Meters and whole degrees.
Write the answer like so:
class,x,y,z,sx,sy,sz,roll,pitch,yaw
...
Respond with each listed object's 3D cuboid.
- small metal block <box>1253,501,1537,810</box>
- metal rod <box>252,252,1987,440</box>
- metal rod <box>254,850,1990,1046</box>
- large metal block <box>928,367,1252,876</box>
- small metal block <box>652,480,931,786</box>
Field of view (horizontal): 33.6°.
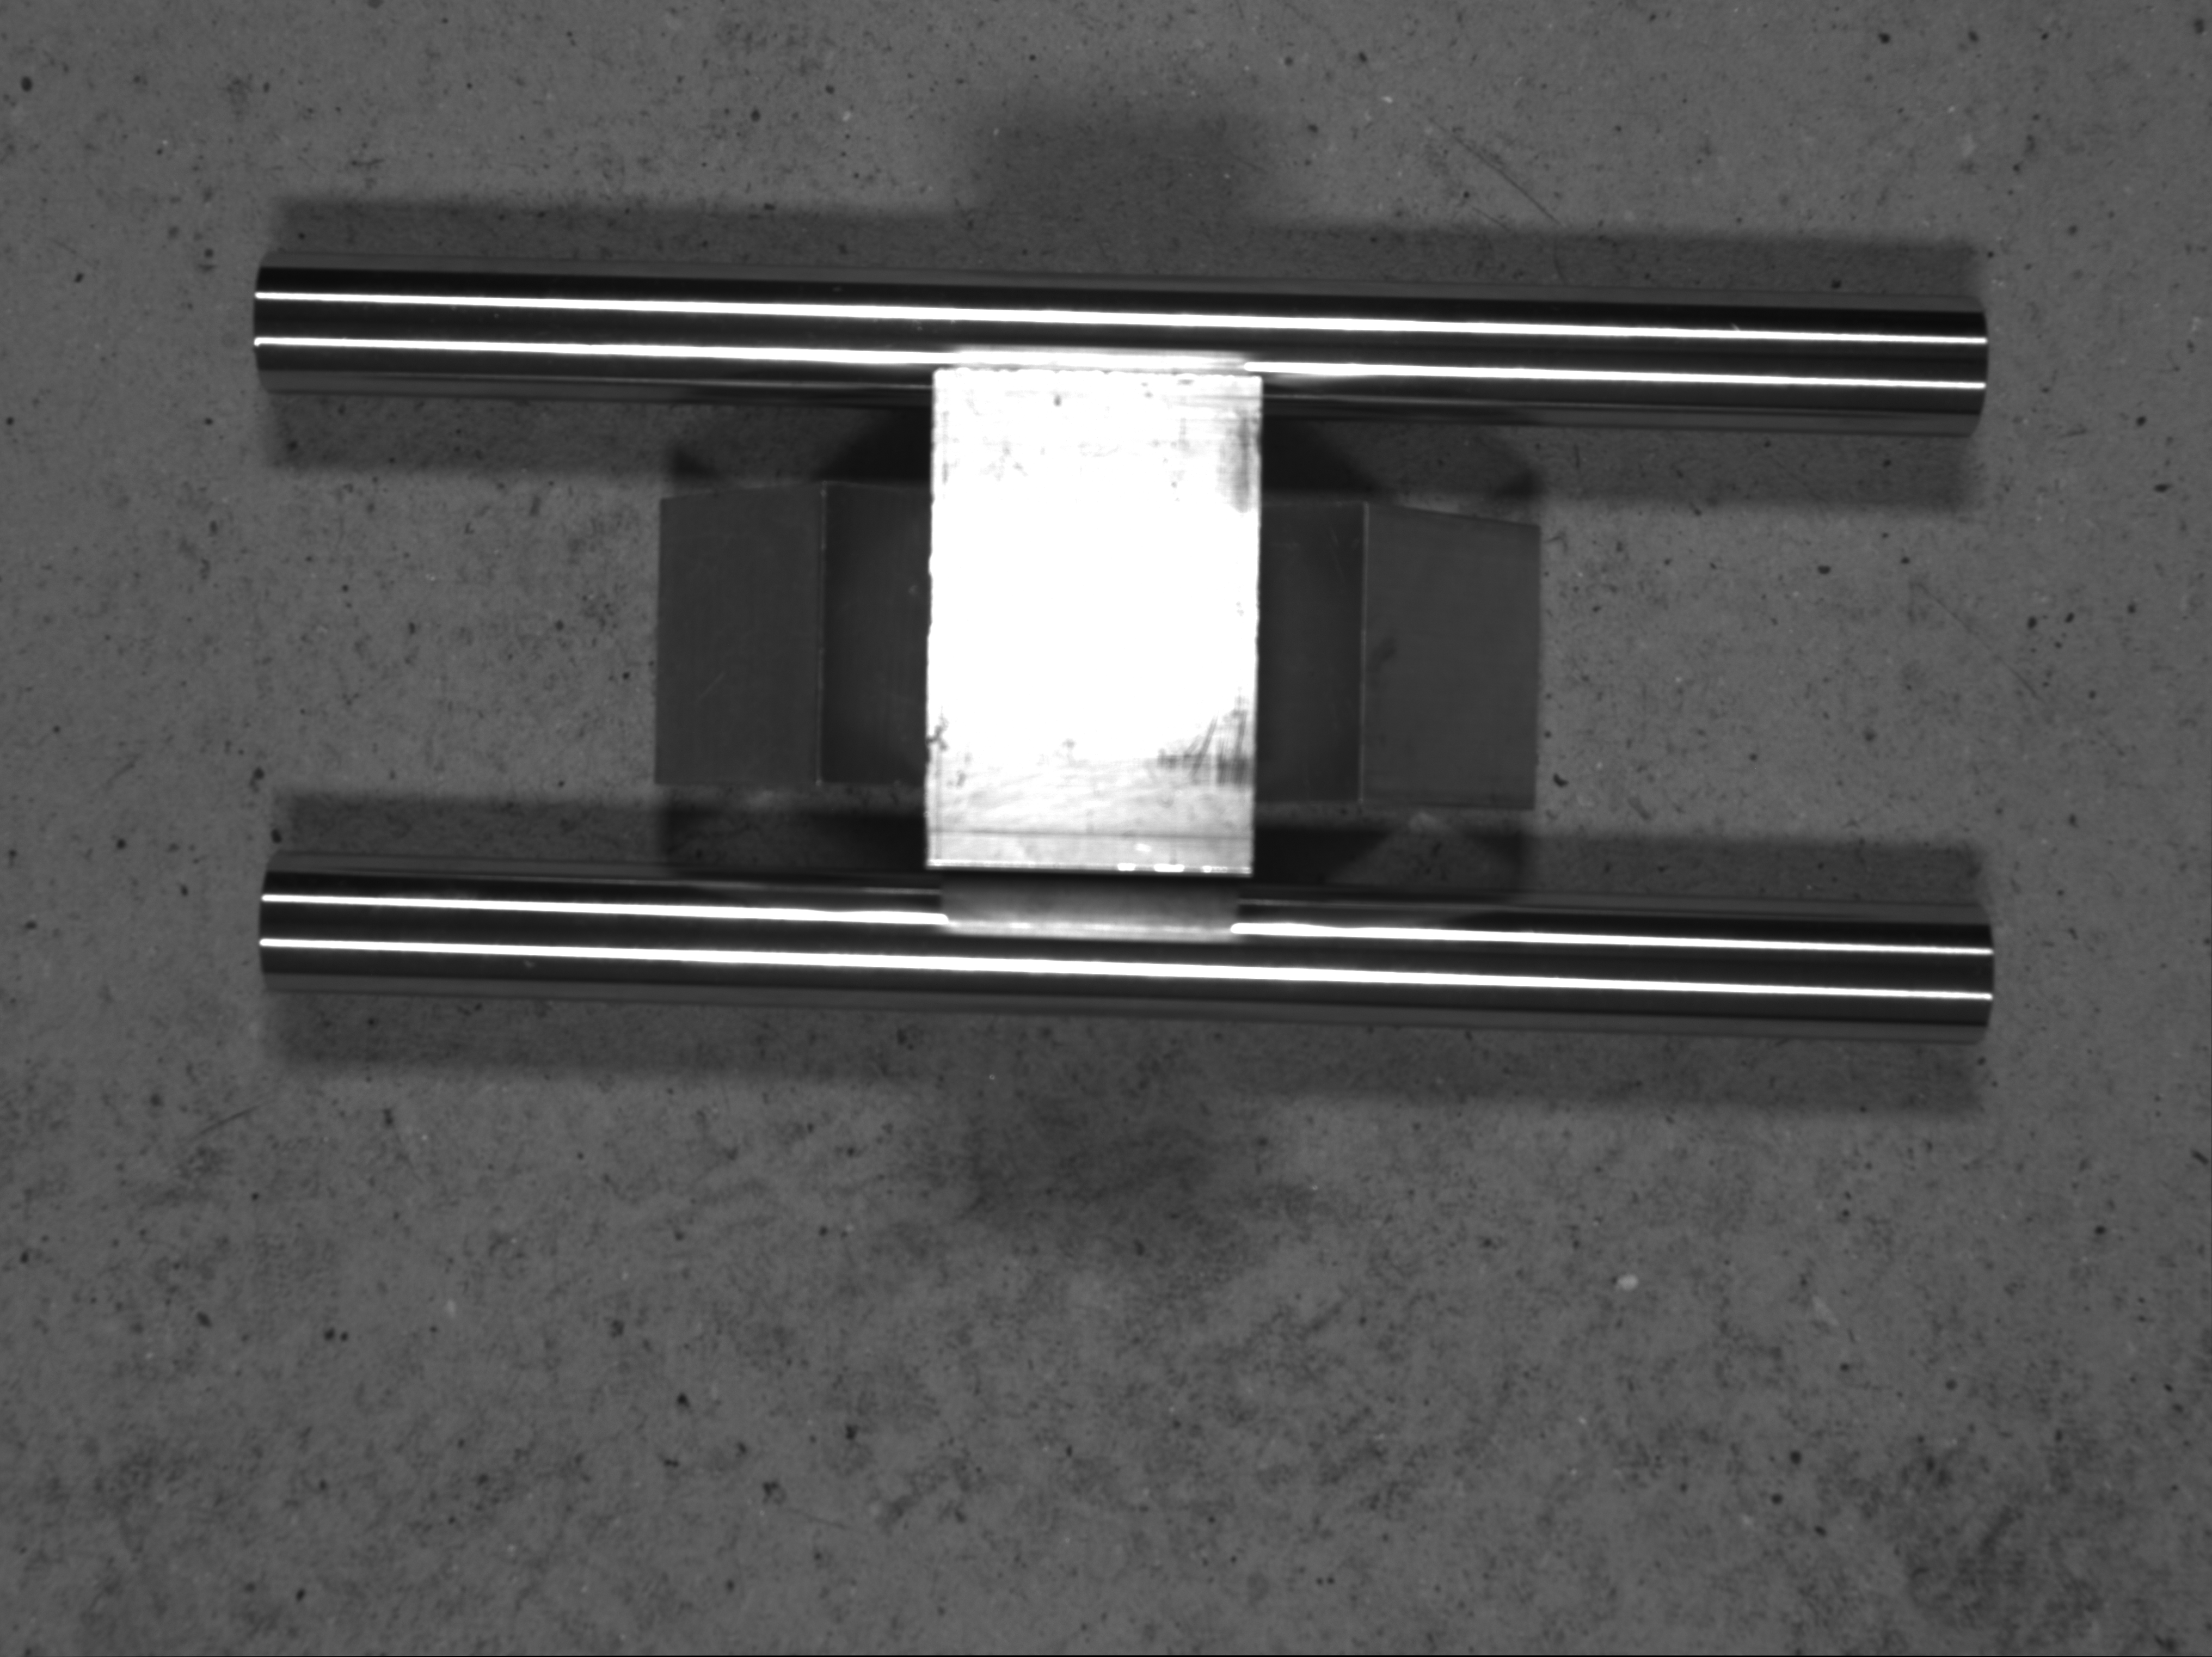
class,x,y,z,sx,sy,sz,roll,pitch,yaw
small metal block,0.049,-0.029,0.632,0.025,0.050,0.050,0,89,41
metal rod,0.003,-0.085,0.645,0.300,0.025,0.025,1,90,-1
metal rod,0.003,0.021,0.645,0.300,0.025,0.025,2,90,-1
large metal block,-0.003,-0.033,0.620,0.050,0.080,0.080,1,90,0
small metal block,-0.054,-0.033,0.631,0.025,0.050,0.050,1,90,-39
